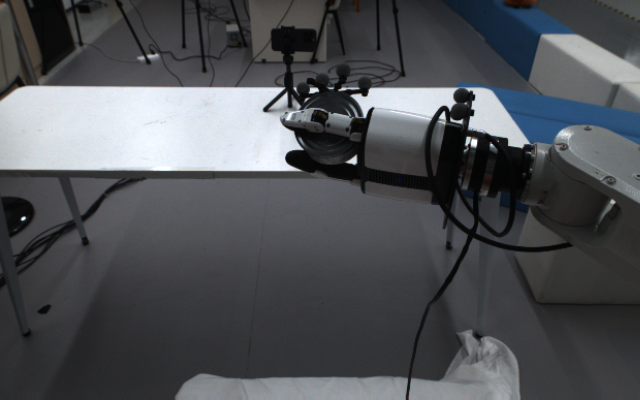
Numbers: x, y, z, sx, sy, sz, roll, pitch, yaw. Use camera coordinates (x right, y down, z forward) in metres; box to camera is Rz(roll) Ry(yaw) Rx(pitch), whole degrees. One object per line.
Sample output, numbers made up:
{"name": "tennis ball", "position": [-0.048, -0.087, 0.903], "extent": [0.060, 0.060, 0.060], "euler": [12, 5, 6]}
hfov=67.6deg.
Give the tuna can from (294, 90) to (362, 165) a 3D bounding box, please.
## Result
{"name": "tuna can", "position": [0.013, -0.088, 0.592], "extent": [0.085, 0.034, 0.085], "euler": [-5, 71, 14]}
